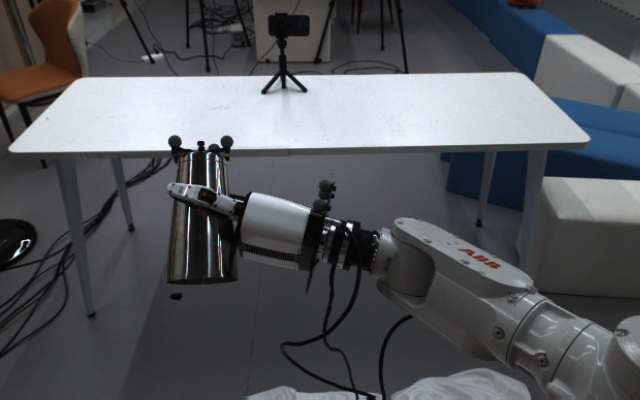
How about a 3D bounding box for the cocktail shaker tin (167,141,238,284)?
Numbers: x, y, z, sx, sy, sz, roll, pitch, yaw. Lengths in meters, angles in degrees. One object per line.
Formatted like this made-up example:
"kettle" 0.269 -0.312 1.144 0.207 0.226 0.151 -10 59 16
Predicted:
"cocktail shaker tin" -0.160 0.026 0.655 0.093 0.093 0.170 -3 76 -7
